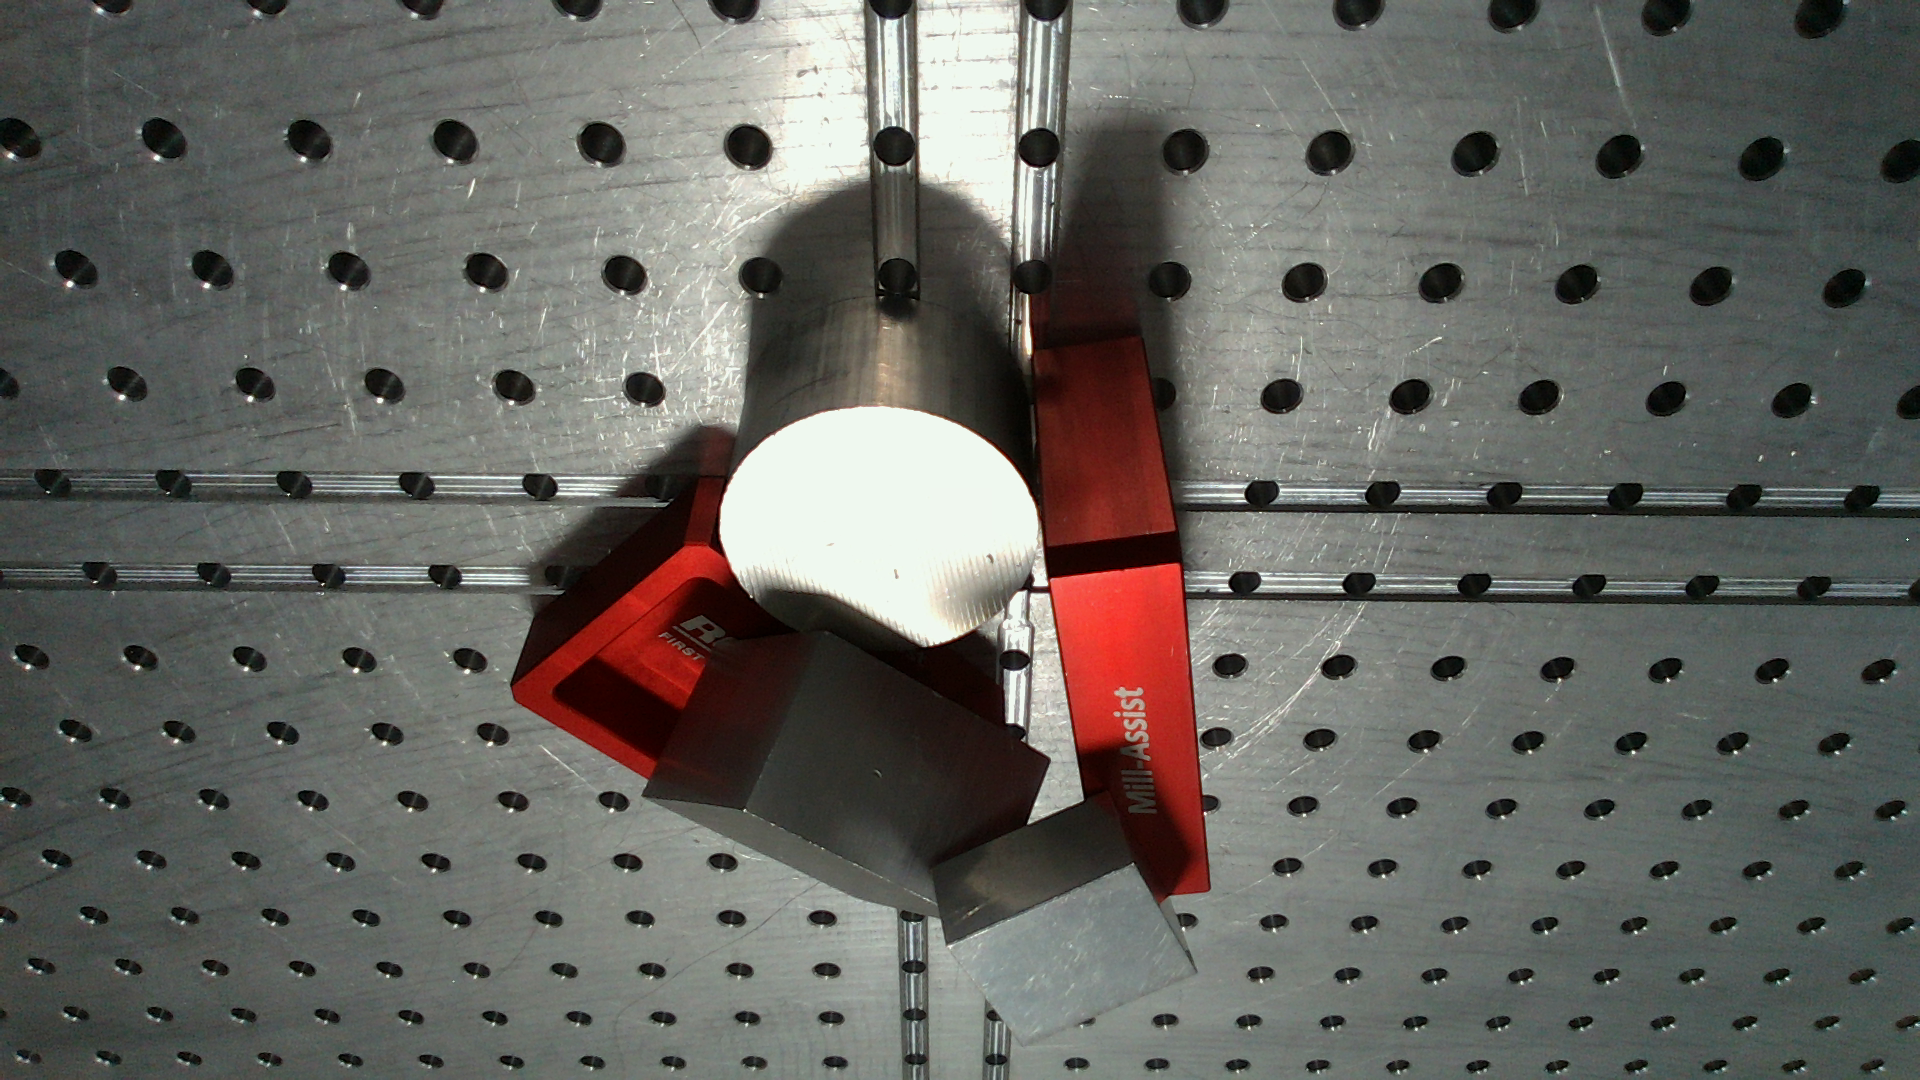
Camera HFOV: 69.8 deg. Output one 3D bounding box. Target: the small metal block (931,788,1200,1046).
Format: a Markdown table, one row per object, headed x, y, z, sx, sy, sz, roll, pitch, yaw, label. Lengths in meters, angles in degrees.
| x | y | z | sx | sy | sz | roll | pitch | yaw | label |
| --- | --- | --- | --- | --- | --- | --- | --- | --- | --- |
| 0.027 | 0.097 | 0.353 | 0.050 | 0.025 | 0.050 | -25 | 127 | 6 | small metal block |

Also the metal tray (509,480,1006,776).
| x | y | z | sx | sy | sz | roll | pitch | yaw | label |
| --- | --- | --- | --- | --- | --- | --- | --- | --- | --- |
| -0.059 | 0.049 | 0.430 | 0.090 | 0.030 | 0.130 | -36 | 122 | 26 | metal tray |

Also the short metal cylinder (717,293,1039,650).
| x | y | z | sx | sy | sz | roll | pitch | yaw | label |
| --- | --- | --- | --- | --- | --- | --- | --- | --- | --- |
| -0.020 | -0.017 | 0.363 | 0.080 | 0.050 | 0.080 | 0 | 130 | 0 | short metal cylinder |

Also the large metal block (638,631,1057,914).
| x | y | z | sx | sy | sz | roll | pitch | yaw | label |
| --- | --- | --- | --- | --- | --- | --- | --- | --- | --- |
| -0.034 | 0.069 | 0.394 | 0.080 | 0.050 | 0.080 | 32 | 159 | -24 | large metal block |

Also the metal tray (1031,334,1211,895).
| x | y | z | sx | sy | sz | roll | pitch | yaw | label |
| --- | --- | --- | --- | --- | --- | --- | --- | --- | --- |
| 0.044 | 0.023 | 0.371 | 0.030 | 0.090 | 0.130 | -7 | 130 | 6 | metal tray |
